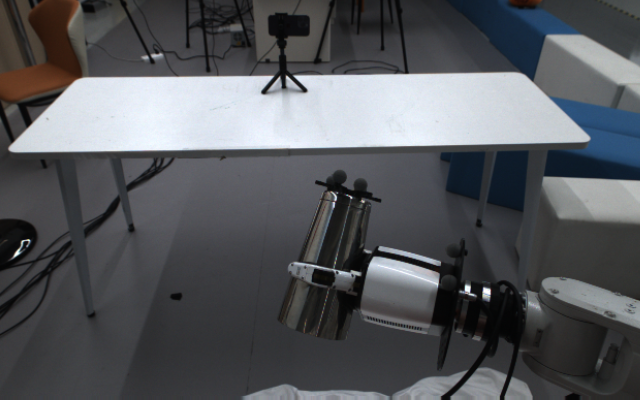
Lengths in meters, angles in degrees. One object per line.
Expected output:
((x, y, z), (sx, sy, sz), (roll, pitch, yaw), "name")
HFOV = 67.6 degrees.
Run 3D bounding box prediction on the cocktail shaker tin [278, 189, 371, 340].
((0.014, 0.079, 0.614), (0.093, 0.170, 0.093), (15, -4, 1), "cocktail shaker tin")
